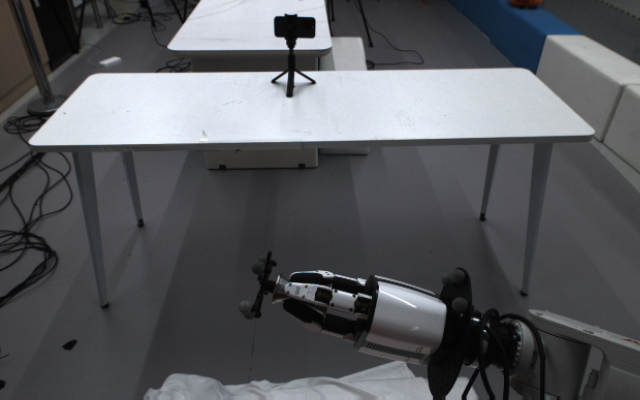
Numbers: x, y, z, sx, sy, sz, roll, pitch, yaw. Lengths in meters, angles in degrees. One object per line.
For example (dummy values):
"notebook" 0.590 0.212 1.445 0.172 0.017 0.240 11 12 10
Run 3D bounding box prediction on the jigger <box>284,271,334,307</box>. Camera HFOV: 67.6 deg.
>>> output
"jigger" -0.015 0.115 0.607 0.071 0.043 0.043 13 36 4
